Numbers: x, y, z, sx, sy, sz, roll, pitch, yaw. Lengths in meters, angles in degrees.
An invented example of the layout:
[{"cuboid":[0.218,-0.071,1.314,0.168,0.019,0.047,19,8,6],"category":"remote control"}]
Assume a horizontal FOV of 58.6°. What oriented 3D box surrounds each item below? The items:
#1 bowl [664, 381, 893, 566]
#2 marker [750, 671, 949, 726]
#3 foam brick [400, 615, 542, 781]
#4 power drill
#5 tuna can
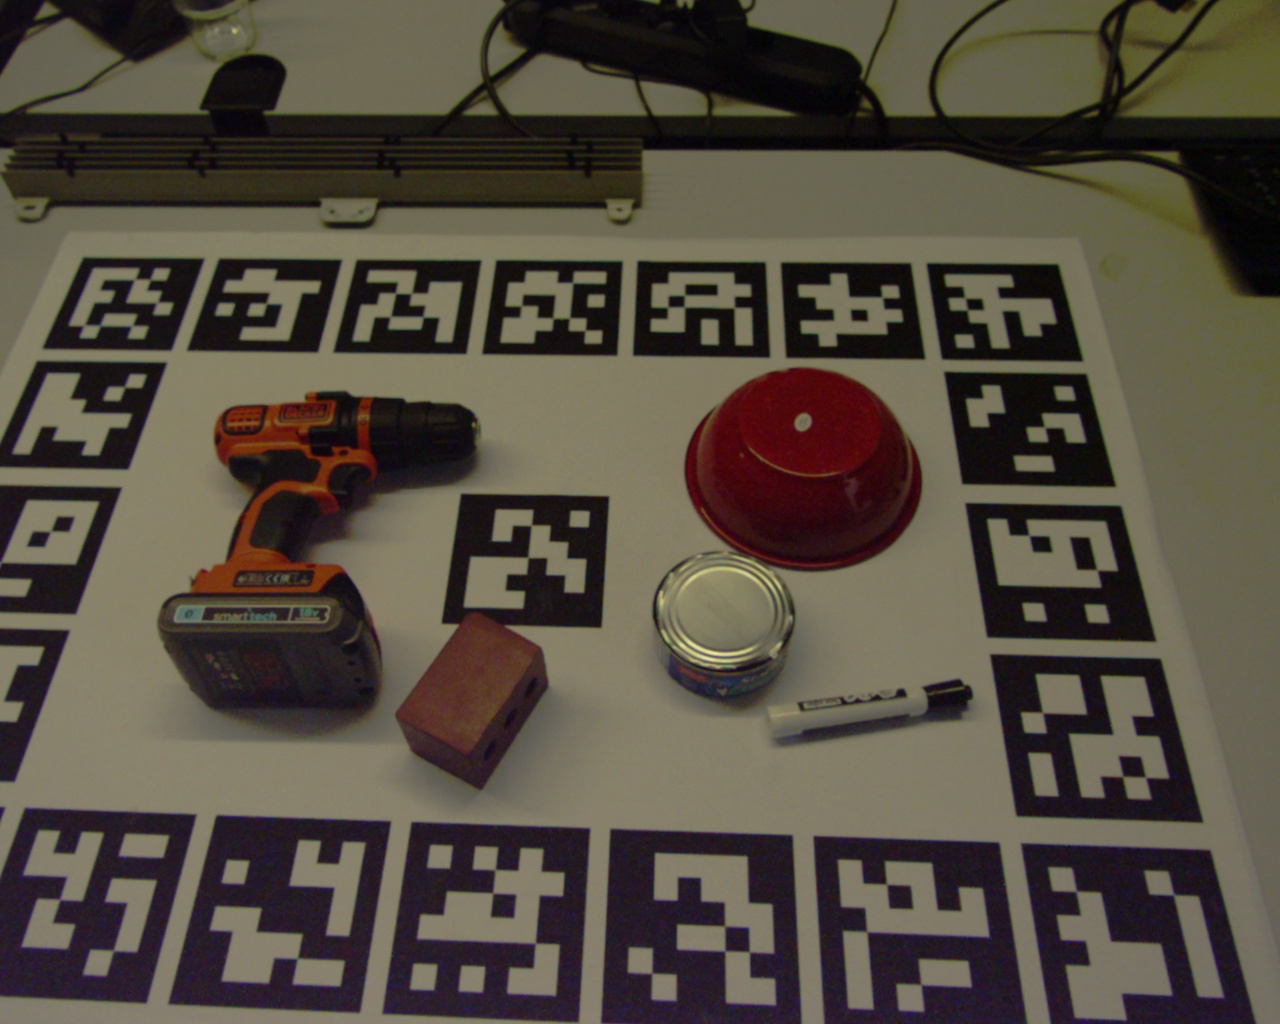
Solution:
[{"cuboid":[0.096,-0.041,0.795,0.162,0.055,0.162,-3,49,3],"category":"bowl"},{"cuboid":[0.129,0.114,0.696,0.121,0.019,0.020,-7,57,-4],"category":"marker"},{"cuboid":[-0.102,0.113,0.694,0.052,0.052,0.078,22,60,14],"category":"foam brick"},{"cuboid":[-0.215,0.016,0.759,0.184,0.057,0.187,1,53,-2],"category":"power drill"},{"cuboid":[0.044,0.066,0.724,0.086,0.033,0.086,0,56,-1],"category":"tuna can"}]
